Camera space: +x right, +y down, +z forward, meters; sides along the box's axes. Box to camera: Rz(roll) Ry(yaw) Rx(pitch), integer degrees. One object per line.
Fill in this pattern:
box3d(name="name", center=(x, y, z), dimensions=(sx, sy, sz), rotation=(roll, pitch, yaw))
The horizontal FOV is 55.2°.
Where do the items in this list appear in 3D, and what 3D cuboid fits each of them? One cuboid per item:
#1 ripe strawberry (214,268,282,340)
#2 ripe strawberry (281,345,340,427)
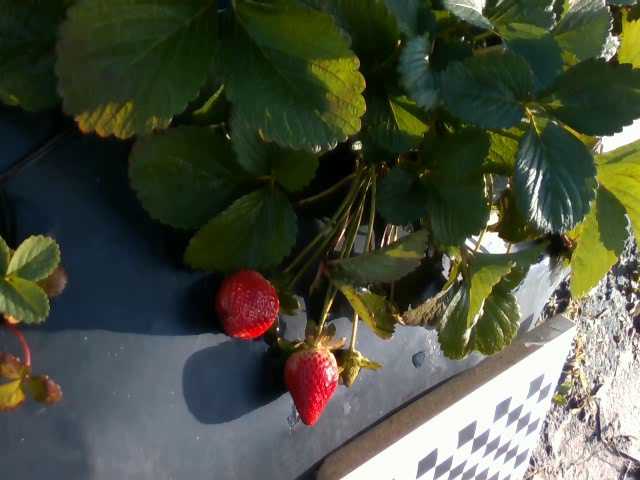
box3d(name="ripe strawberry", center=(-0.045, 0.041, 0.371), dimensions=(0.039, 0.048, 0.054), rotation=(22, 19, 21))
box3d(name="ripe strawberry", center=(-0.004, 0.095, 0.390), dimensions=(0.038, 0.053, 0.043), rotation=(-15, -31, 30))
